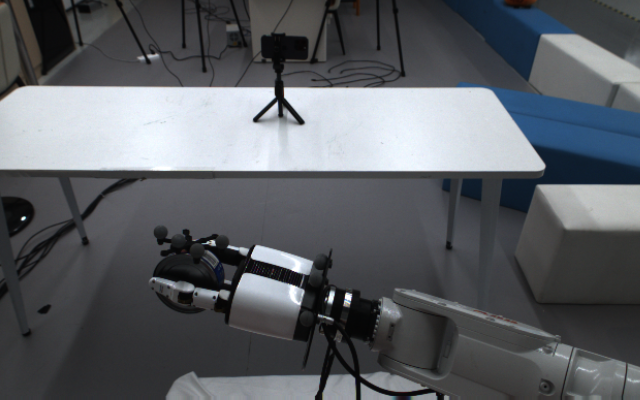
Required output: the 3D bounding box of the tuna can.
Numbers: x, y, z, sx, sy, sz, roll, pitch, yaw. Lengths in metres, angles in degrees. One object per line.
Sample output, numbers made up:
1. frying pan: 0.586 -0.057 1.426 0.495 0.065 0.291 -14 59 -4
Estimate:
1. tuna can: -0.166 0.102 0.624 0.085 0.085 0.034 6 17 5
